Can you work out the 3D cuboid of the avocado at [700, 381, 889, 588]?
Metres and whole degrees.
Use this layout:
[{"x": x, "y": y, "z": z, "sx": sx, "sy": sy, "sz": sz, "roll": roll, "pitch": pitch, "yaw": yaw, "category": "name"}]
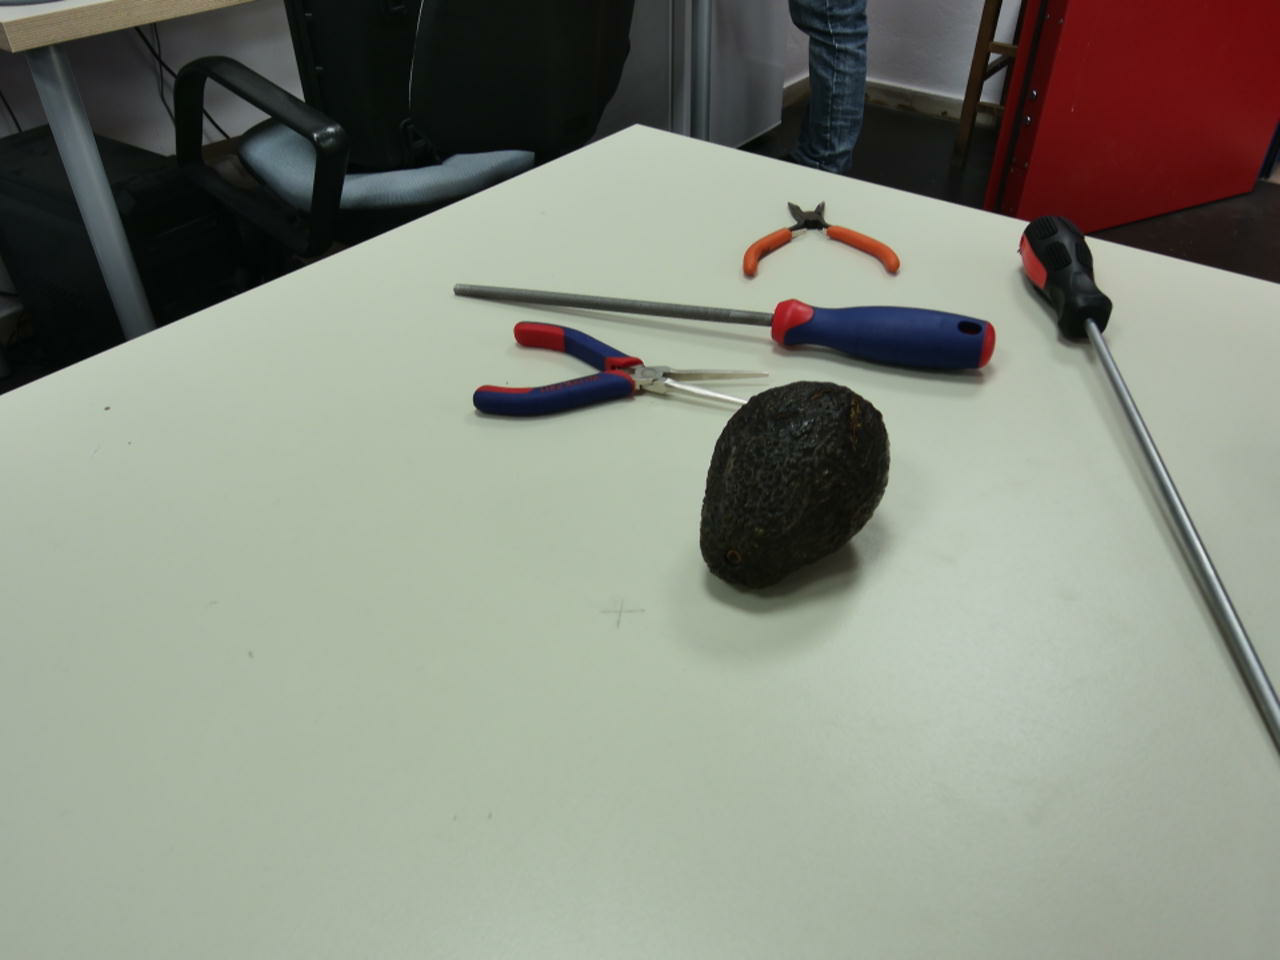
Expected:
[{"x": 0.061, "y": -0.003, "z": 0.409, "sx": 0.090, "sy": 0.069, "sz": 0.070, "roll": -16, "pitch": 39, "yaw": -19, "category": "avocado"}]
